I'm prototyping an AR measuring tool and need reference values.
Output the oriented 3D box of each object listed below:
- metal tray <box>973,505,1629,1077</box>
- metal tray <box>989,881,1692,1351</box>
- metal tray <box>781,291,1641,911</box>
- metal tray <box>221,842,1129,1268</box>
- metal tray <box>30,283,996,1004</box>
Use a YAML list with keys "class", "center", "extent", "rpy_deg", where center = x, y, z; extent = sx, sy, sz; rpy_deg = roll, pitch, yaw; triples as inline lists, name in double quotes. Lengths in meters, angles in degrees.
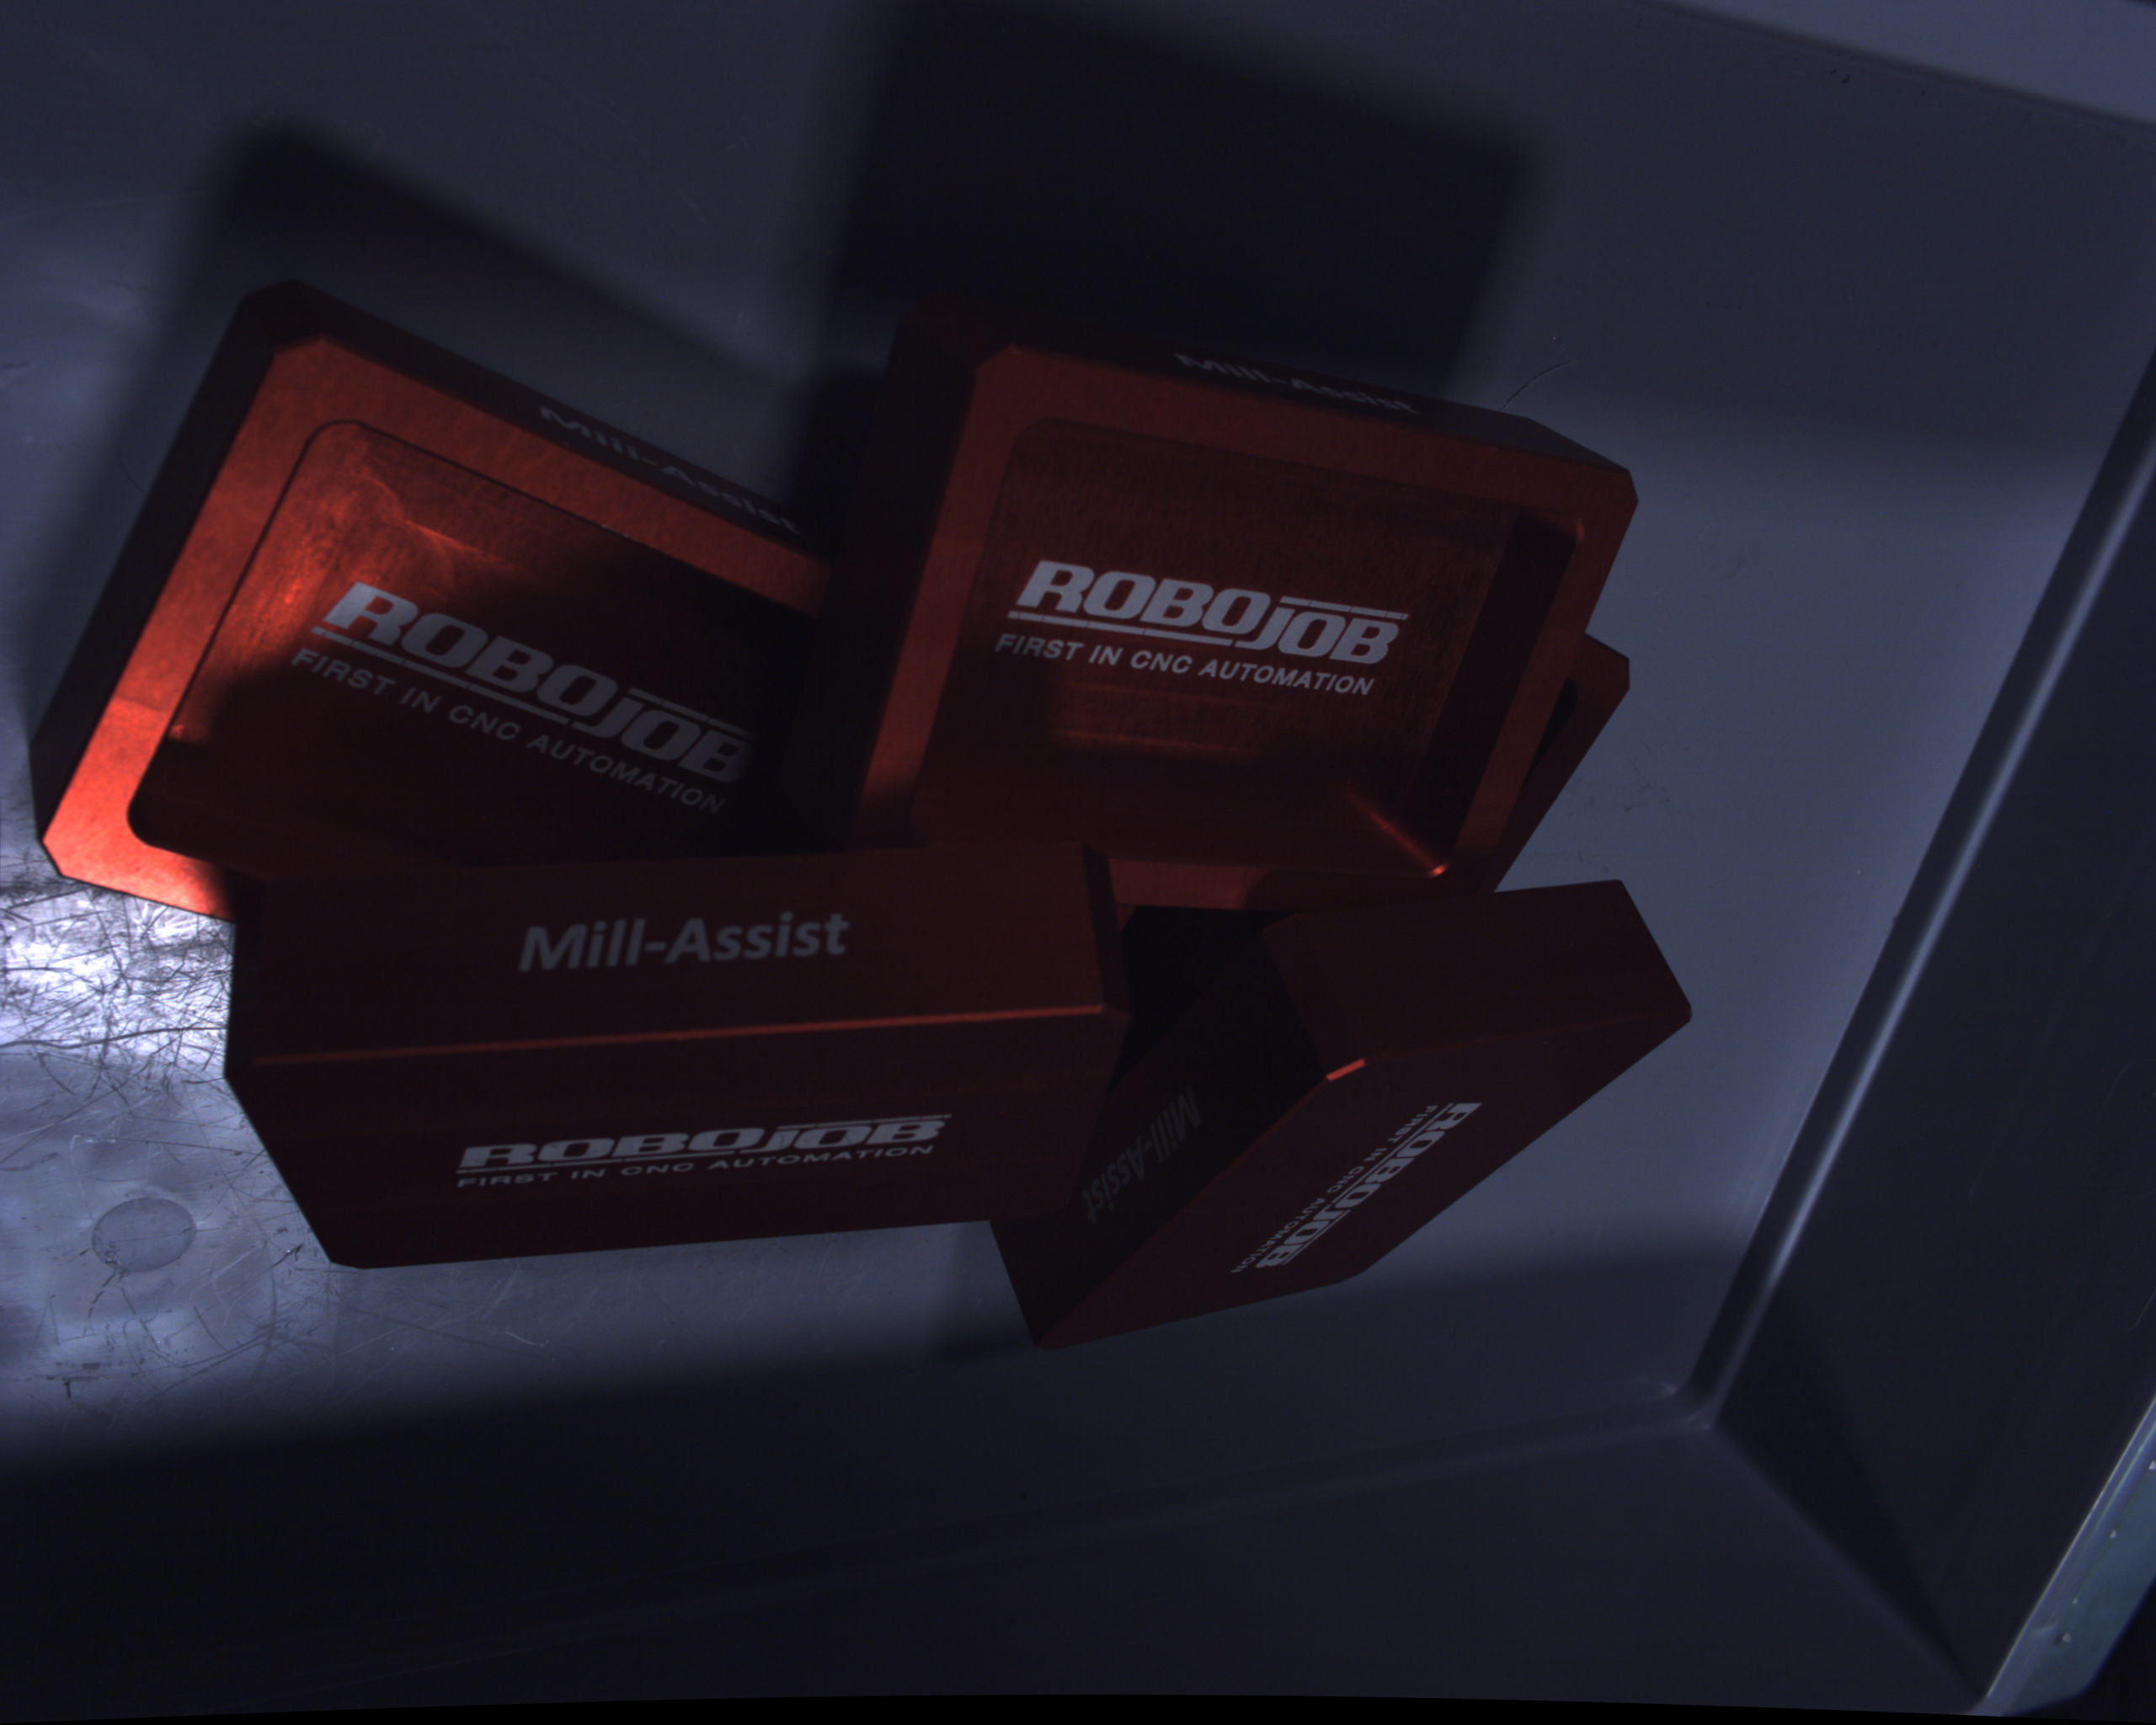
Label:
- class: "metal tray"
  center: [0.042, -0.006, 0.425]
  extent: [0.091, 0.030, 0.129]
  rpy_deg: [21, 107, -37]
- class: "metal tray"
  center: [0.049, 0.054, 0.424]
  extent: [0.091, 0.030, 0.129]
  rpy_deg: [-5, 150, -33]
- class: "metal tray"
  center: [0.024, -0.038, 0.355]
  extent: [0.131, 0.030, 0.089]
  rpy_deg: [3, 117, -31]
- class: "metal tray"
  center: [-0.063, 0.034, 0.347]
  extent: [0.131, 0.030, 0.090]
  rpy_deg: [-3, 151, -10]
- class: "metal tray"
  center: [-0.086, -0.024, 0.341]
  extent: [0.131, 0.030, 0.090]
  rpy_deg: [21, 107, -37]
